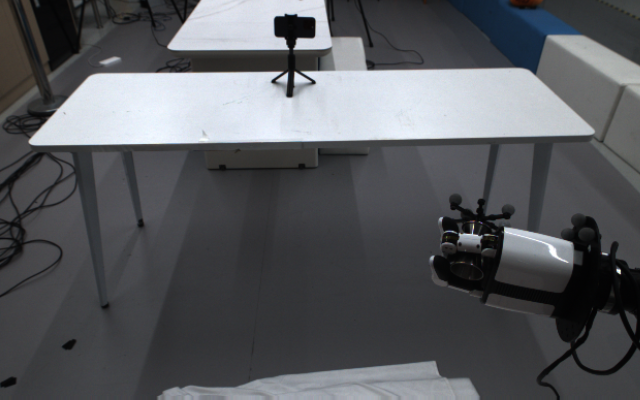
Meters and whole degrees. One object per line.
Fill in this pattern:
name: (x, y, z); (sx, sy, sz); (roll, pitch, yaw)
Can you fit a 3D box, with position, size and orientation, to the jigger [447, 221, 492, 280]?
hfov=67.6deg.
jigger: (0.205, 0.065, 0.644); (0.043, 0.043, 0.071); (13, 57, 15)
